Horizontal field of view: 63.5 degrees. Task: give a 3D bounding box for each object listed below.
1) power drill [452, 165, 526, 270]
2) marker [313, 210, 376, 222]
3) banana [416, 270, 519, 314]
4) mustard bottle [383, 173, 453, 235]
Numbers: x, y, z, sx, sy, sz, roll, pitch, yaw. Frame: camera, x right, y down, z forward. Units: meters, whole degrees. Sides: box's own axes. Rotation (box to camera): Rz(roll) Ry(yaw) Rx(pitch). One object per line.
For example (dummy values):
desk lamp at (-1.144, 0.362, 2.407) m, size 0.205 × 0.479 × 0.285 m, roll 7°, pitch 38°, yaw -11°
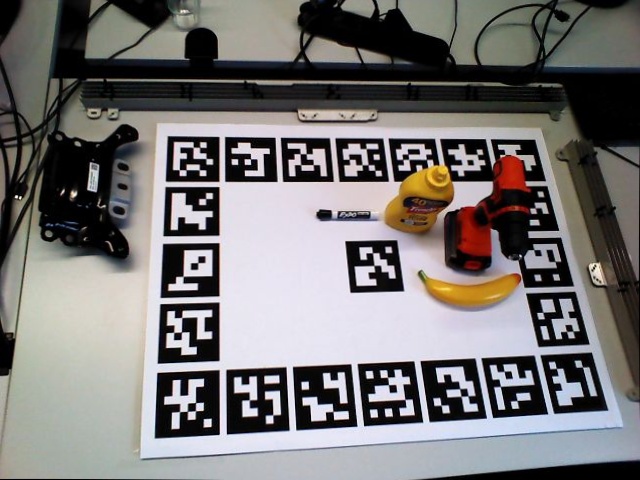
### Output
power drill at (0.294, -0.014, 0.908) m, size 0.057 × 0.188 × 0.183 m, roll 13°, pitch 66°, yaw -5°
marker at (0.047, -0.046, 0.999) m, size 0.121 × 0.020 × 0.019 m, roll 2°, pitch 70°, yaw -7°
banana at (0.276, 0.102, 0.965) m, size 0.197 × 0.039 × 0.074 m, roll 7°, pitch 70°, yaw -3°
mustard bottle at (0.184, -0.069, 0.932) m, size 0.096 × 0.192 × 0.058 m, roll 10°, pitch 68°, yaw -5°
